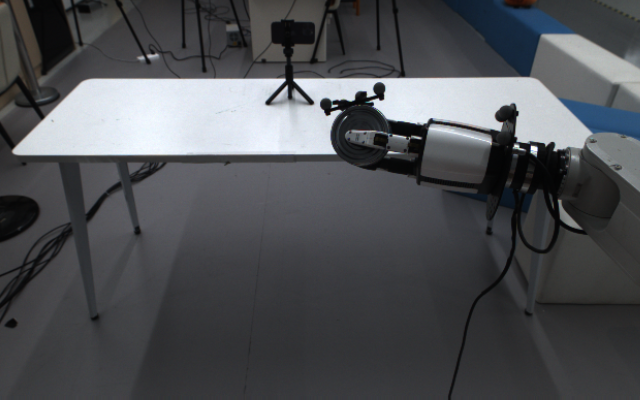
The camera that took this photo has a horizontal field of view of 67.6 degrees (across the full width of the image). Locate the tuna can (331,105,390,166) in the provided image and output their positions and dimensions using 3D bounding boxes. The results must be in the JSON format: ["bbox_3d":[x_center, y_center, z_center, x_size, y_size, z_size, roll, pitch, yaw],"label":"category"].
[{"bbox_3d":[0.063,-0.086,0.689,0.085,0.085,0.034,12,3,14],"label":"tuna can"}]
